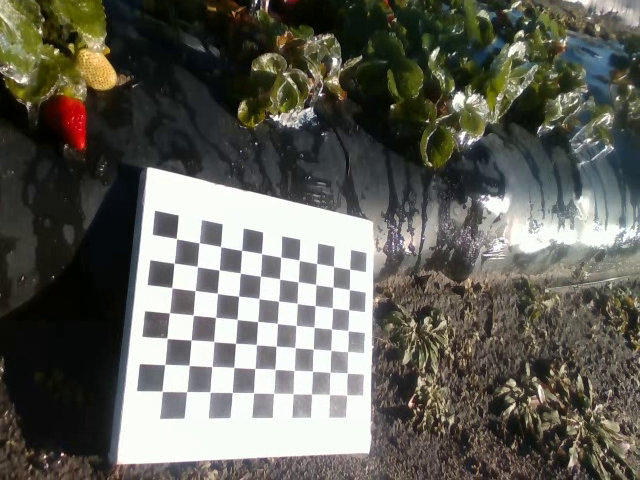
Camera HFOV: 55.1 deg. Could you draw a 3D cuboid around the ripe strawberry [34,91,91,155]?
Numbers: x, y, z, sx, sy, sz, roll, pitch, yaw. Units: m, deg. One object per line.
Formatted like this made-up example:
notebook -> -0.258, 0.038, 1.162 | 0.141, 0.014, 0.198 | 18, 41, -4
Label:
ripe strawberry -> -0.217, -0.106, 0.544 | 0.042, 0.052, 0.040 | -10, -11, -39
